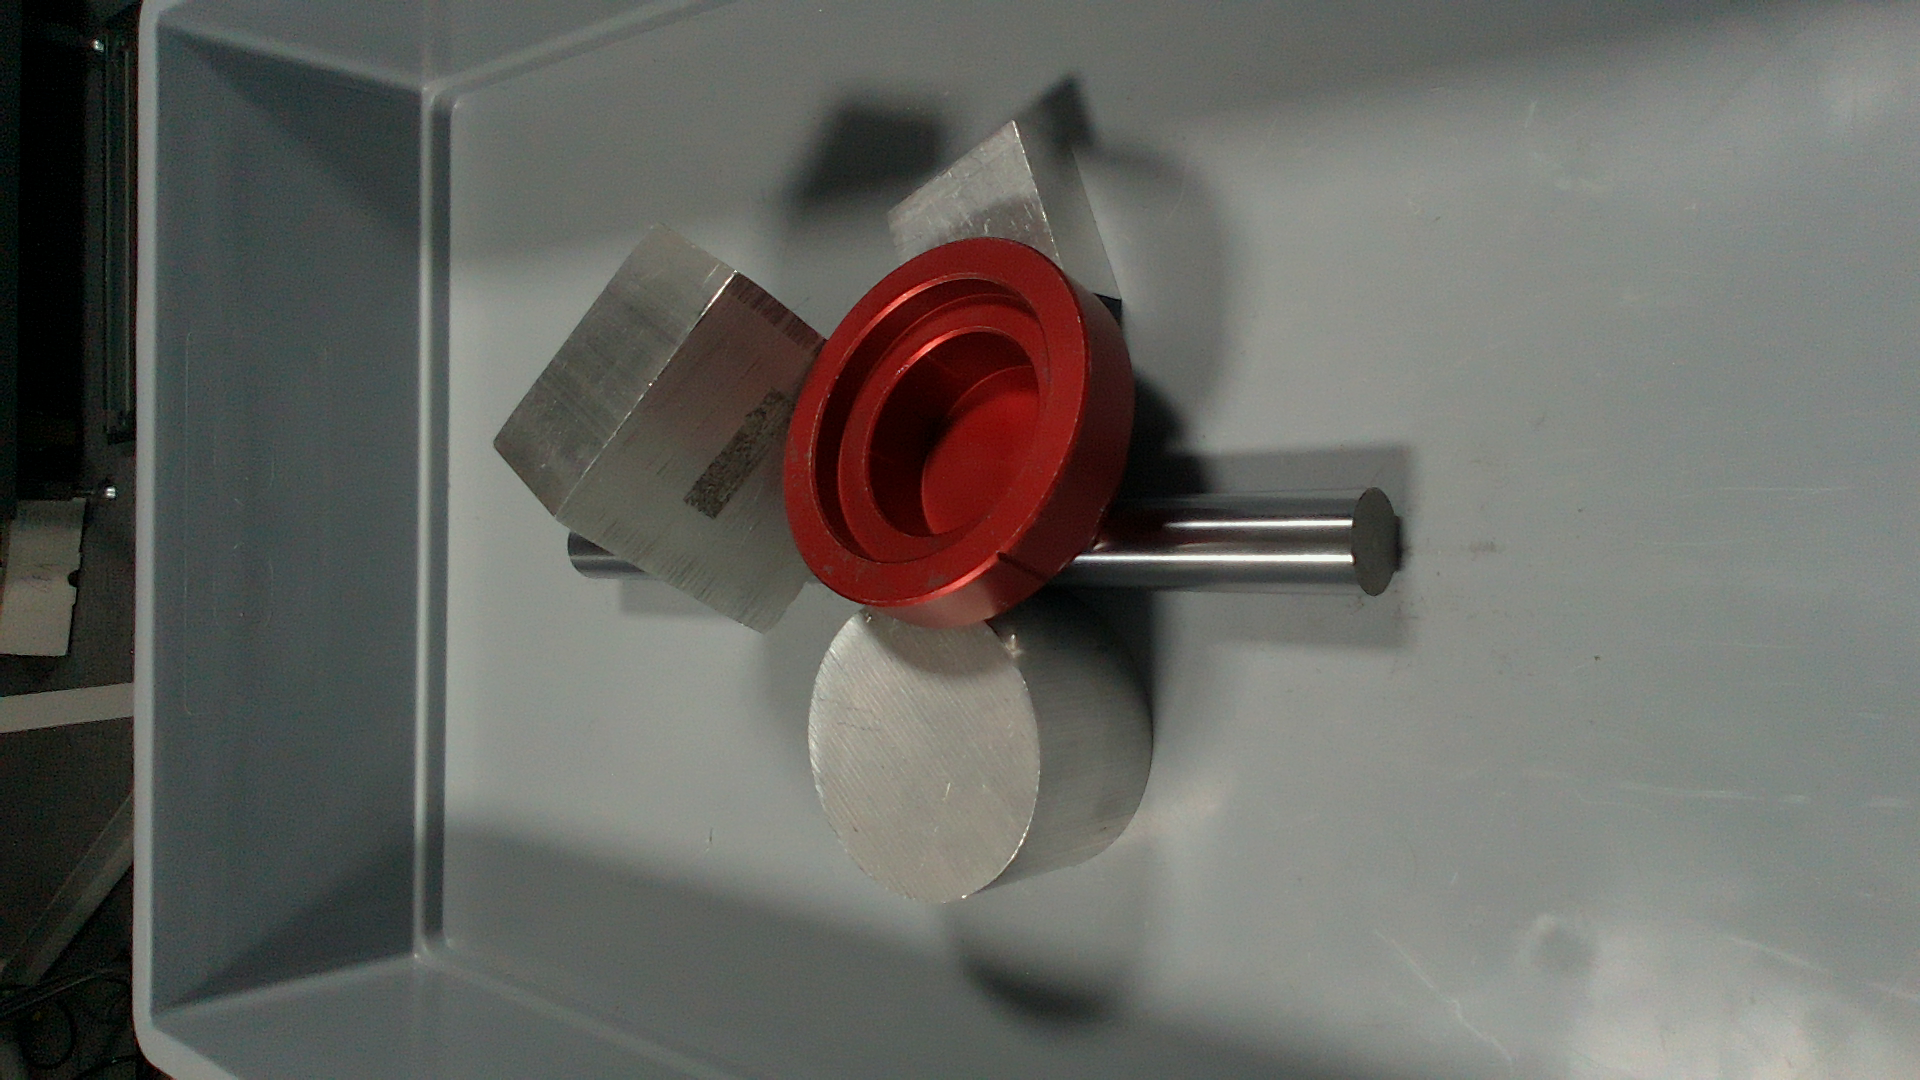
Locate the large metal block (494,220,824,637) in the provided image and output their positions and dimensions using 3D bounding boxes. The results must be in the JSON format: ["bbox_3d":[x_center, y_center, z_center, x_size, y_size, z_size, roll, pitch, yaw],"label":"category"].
[{"bbox_3d":[-0.071,-0.031,0.398,0.080,0.080,0.050,-54,44,0],"label":"large metal block"}]

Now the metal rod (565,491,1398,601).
[{"bbox_3d":[-0.020,0.002,0.408,0.299,0.025,0.025,0,90,40],"label":"metal rod"}]

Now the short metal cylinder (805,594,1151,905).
[{"bbox_3d":[0.004,0.053,0.372,0.080,0.050,0.080,0,90,40],"label":"short metal cylinder"}]

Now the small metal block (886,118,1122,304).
[{"bbox_3d":[0.011,-0.080,0.385,0.050,0.025,0.050,-27,73,37],"label":"small metal block"}]

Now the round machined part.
[{"bbox_3d":[0.003,-0.024,0.354,0.098,0.042,0.098,-17,62,35],"label":"round machined part"}]
